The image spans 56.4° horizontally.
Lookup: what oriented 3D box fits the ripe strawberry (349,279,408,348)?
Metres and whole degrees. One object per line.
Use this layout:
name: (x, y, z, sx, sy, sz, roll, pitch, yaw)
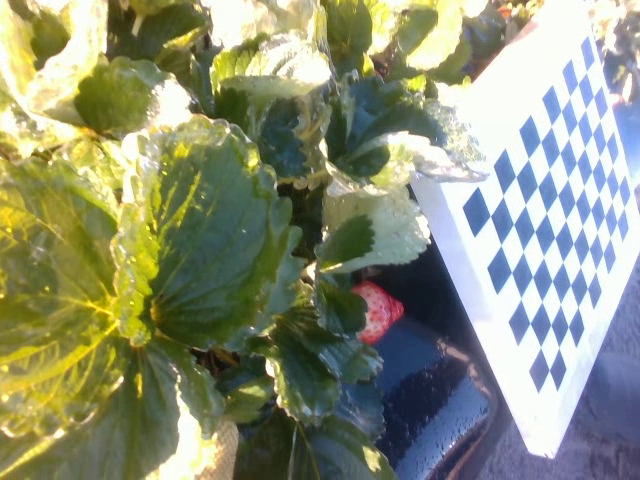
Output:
ripe strawberry: (0.038, 0.051, 0.376, 0.065, 0.040, 0.040, 5, -7, -45)
